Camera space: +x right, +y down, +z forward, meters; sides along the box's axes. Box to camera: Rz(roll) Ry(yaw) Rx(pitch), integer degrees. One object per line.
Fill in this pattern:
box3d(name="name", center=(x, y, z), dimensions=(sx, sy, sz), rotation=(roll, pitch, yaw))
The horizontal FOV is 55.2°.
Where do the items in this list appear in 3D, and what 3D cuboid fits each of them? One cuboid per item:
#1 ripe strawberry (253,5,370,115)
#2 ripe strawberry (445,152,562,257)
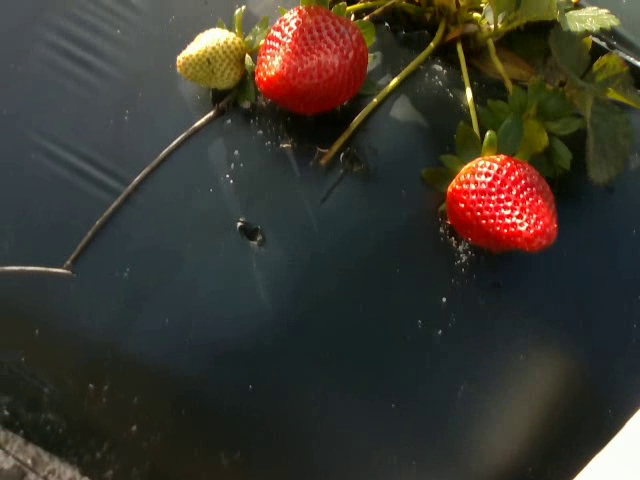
box3d(name="ripe strawberry", center=(-0.003, -0.050, 0.167), dimensions=(0.035, 0.041, 0.036), rotation=(25, 34, 12))
box3d(name="ripe strawberry", center=(0.053, -0.009, 0.163), dimensions=(0.037, 0.033, 0.039), rotation=(-40, 17, 23))
